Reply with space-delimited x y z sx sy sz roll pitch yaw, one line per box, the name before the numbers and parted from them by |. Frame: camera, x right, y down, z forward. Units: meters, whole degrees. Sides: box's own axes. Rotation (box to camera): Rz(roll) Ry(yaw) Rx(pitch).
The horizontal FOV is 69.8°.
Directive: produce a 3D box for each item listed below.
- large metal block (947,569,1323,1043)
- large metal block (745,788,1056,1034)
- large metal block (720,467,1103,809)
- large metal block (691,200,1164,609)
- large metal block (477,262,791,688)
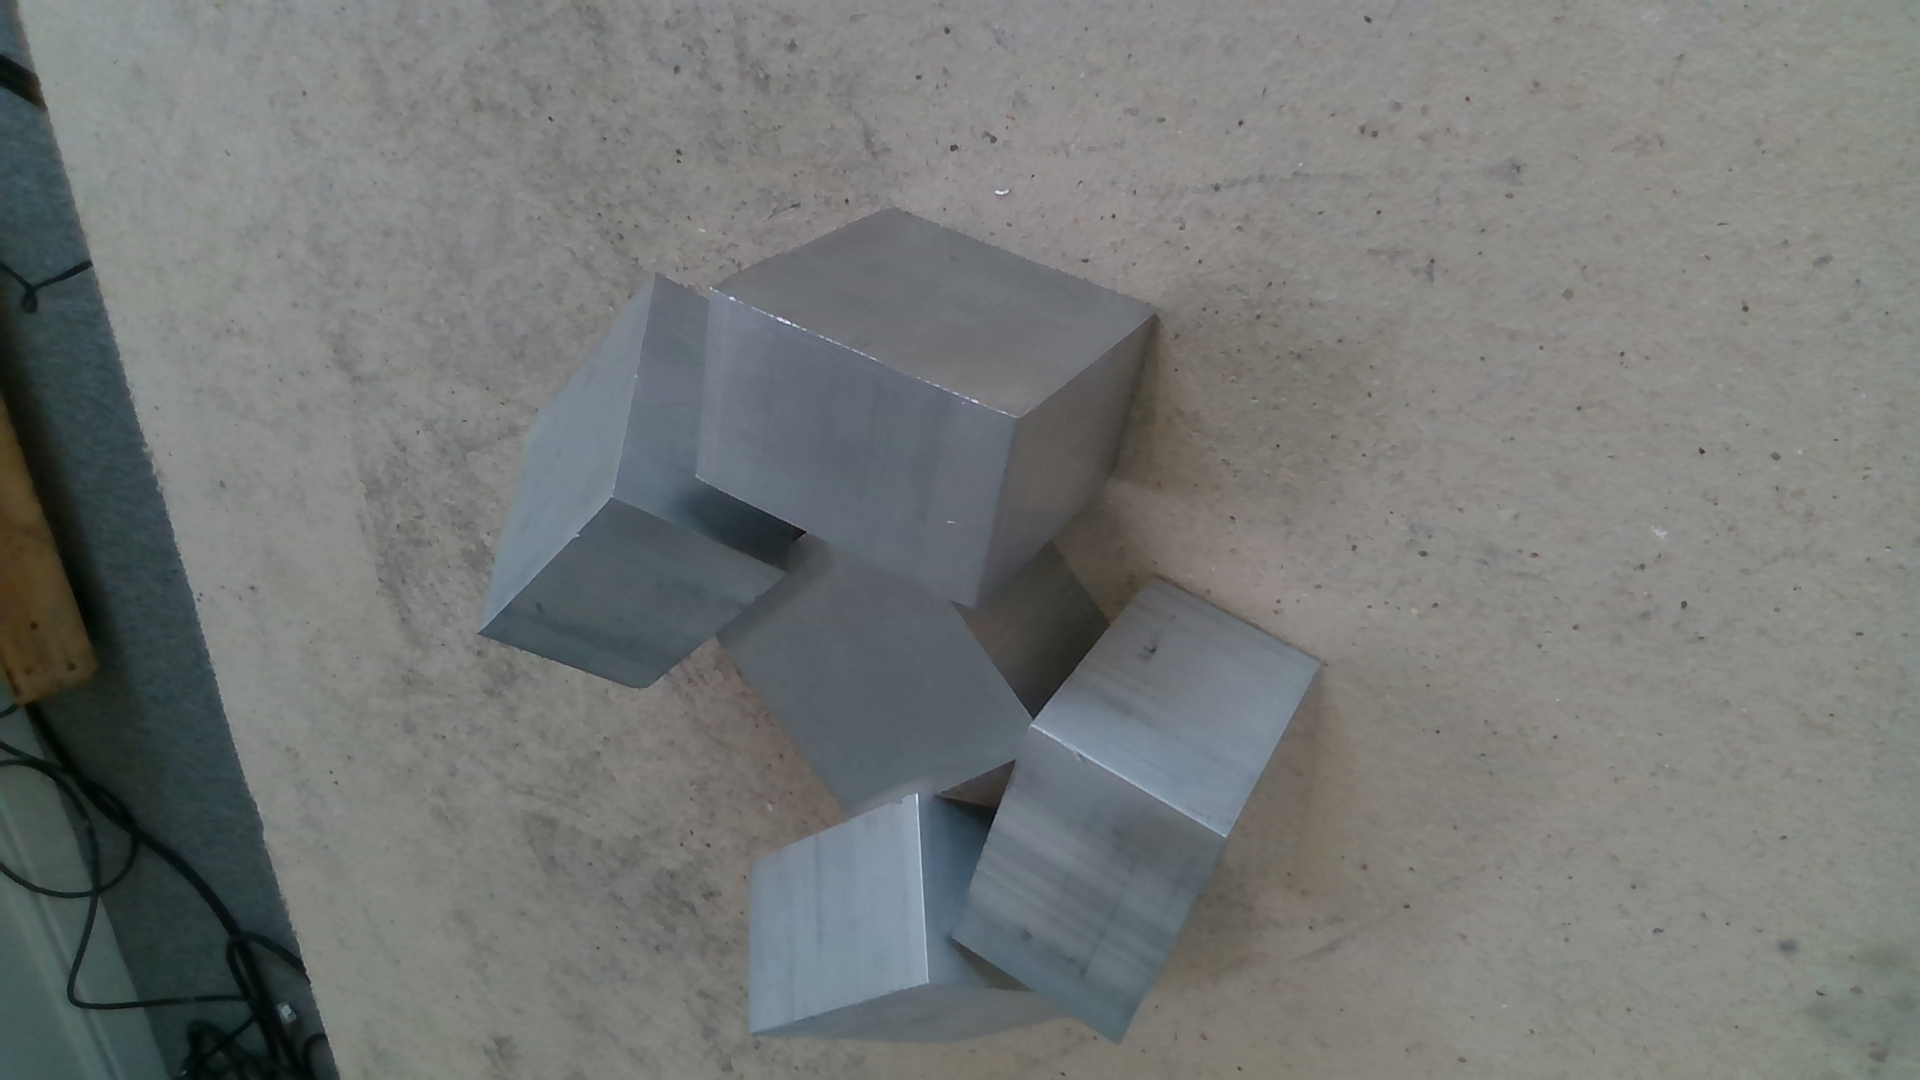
large metal block | 0.046 0.068 0.363 0.050 0.080 0.080 28 127 16
large metal block | -0.008 0.116 0.414 0.080 0.080 0.050 -29 54 39
large metal block | -0.014 0.025 0.393 0.080 0.050 0.080 -31 96 40
large metal block | -0.007 -0.038 0.338 0.080 0.080 0.050 25 126 19
large metal block | -0.089 -0.016 0.391 0.050 0.080 0.080 26 137 -30
